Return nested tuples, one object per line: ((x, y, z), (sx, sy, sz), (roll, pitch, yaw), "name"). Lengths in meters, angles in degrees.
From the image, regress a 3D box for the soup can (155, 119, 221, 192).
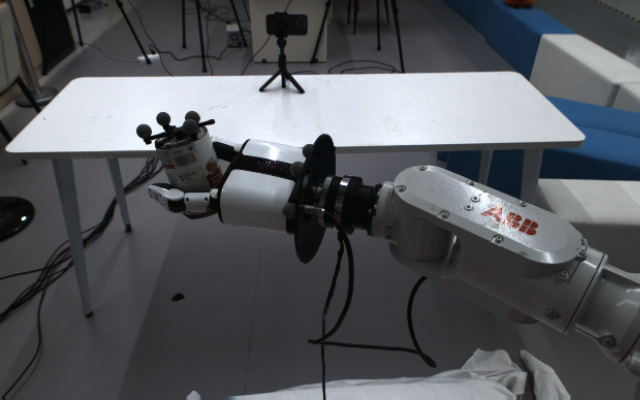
((-0.158, -0.035, 0.611), (0.067, 0.101, 0.067), (-11, 27, 6), "soup can")
